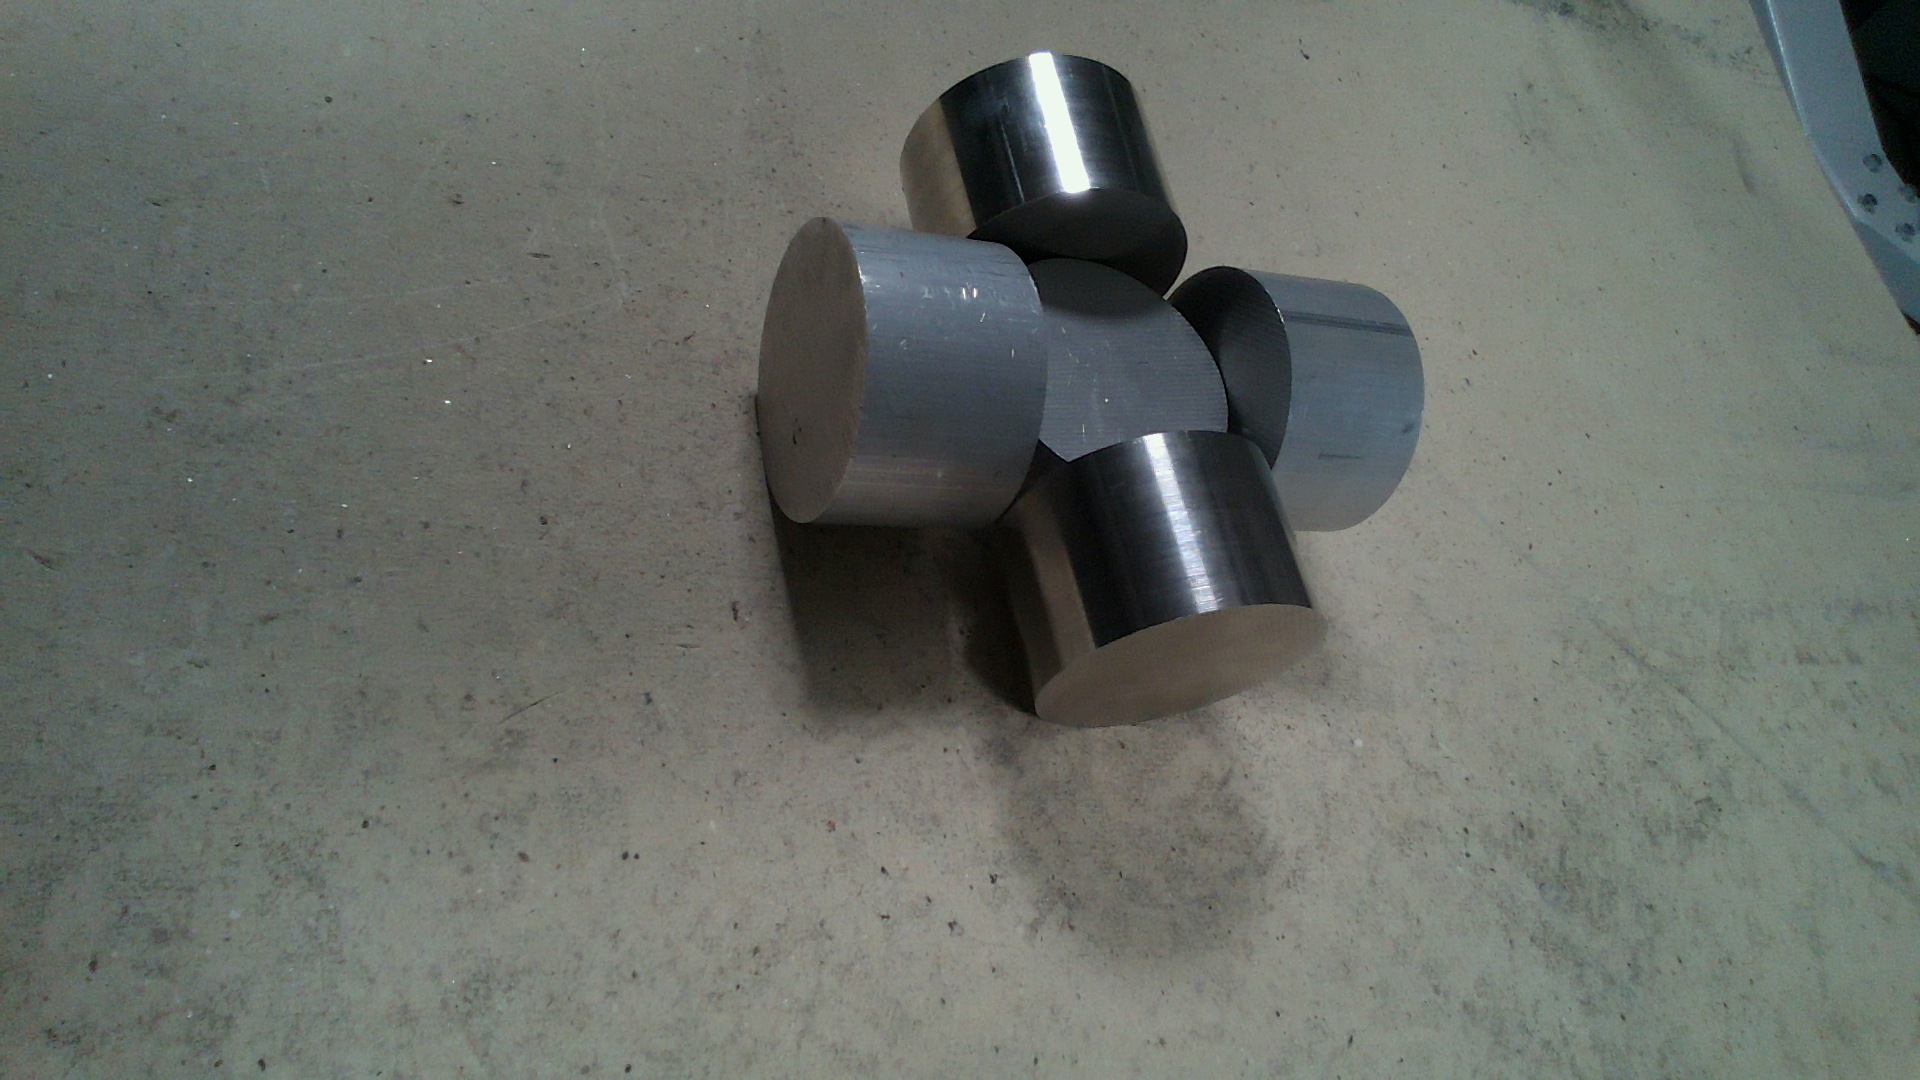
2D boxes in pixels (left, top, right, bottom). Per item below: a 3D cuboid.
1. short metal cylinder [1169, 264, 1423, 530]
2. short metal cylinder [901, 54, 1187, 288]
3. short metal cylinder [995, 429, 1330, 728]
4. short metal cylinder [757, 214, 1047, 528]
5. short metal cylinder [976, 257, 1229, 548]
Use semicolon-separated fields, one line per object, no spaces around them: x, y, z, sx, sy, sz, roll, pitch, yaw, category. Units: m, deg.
0.097;-0.043;0.434;0.050;0.080;0.080;2;61;-27;short metal cylinder
0.025;-0.103;0.430;0.080;0.080;0.050;2;61;-27;short metal cylinder
0.054;0.013;0.375;0.080;0.080;0.050;0;61;-28;short metal cylinder
-0.018;-0.044;0.372;0.050;0.080;0.080;2;61;-27;short metal cylinder
0.033;-0.038;0.415;0.080;0.050;0.080;14;56;-21;short metal cylinder
